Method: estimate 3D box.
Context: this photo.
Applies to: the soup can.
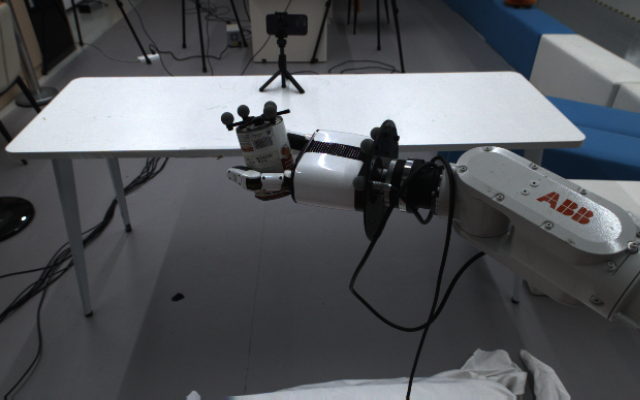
[{"bbox_3d":[-0.070,-0.058,0.670,0.067,0.101,0.067,-13,20,5],"label":"soup can"}]
